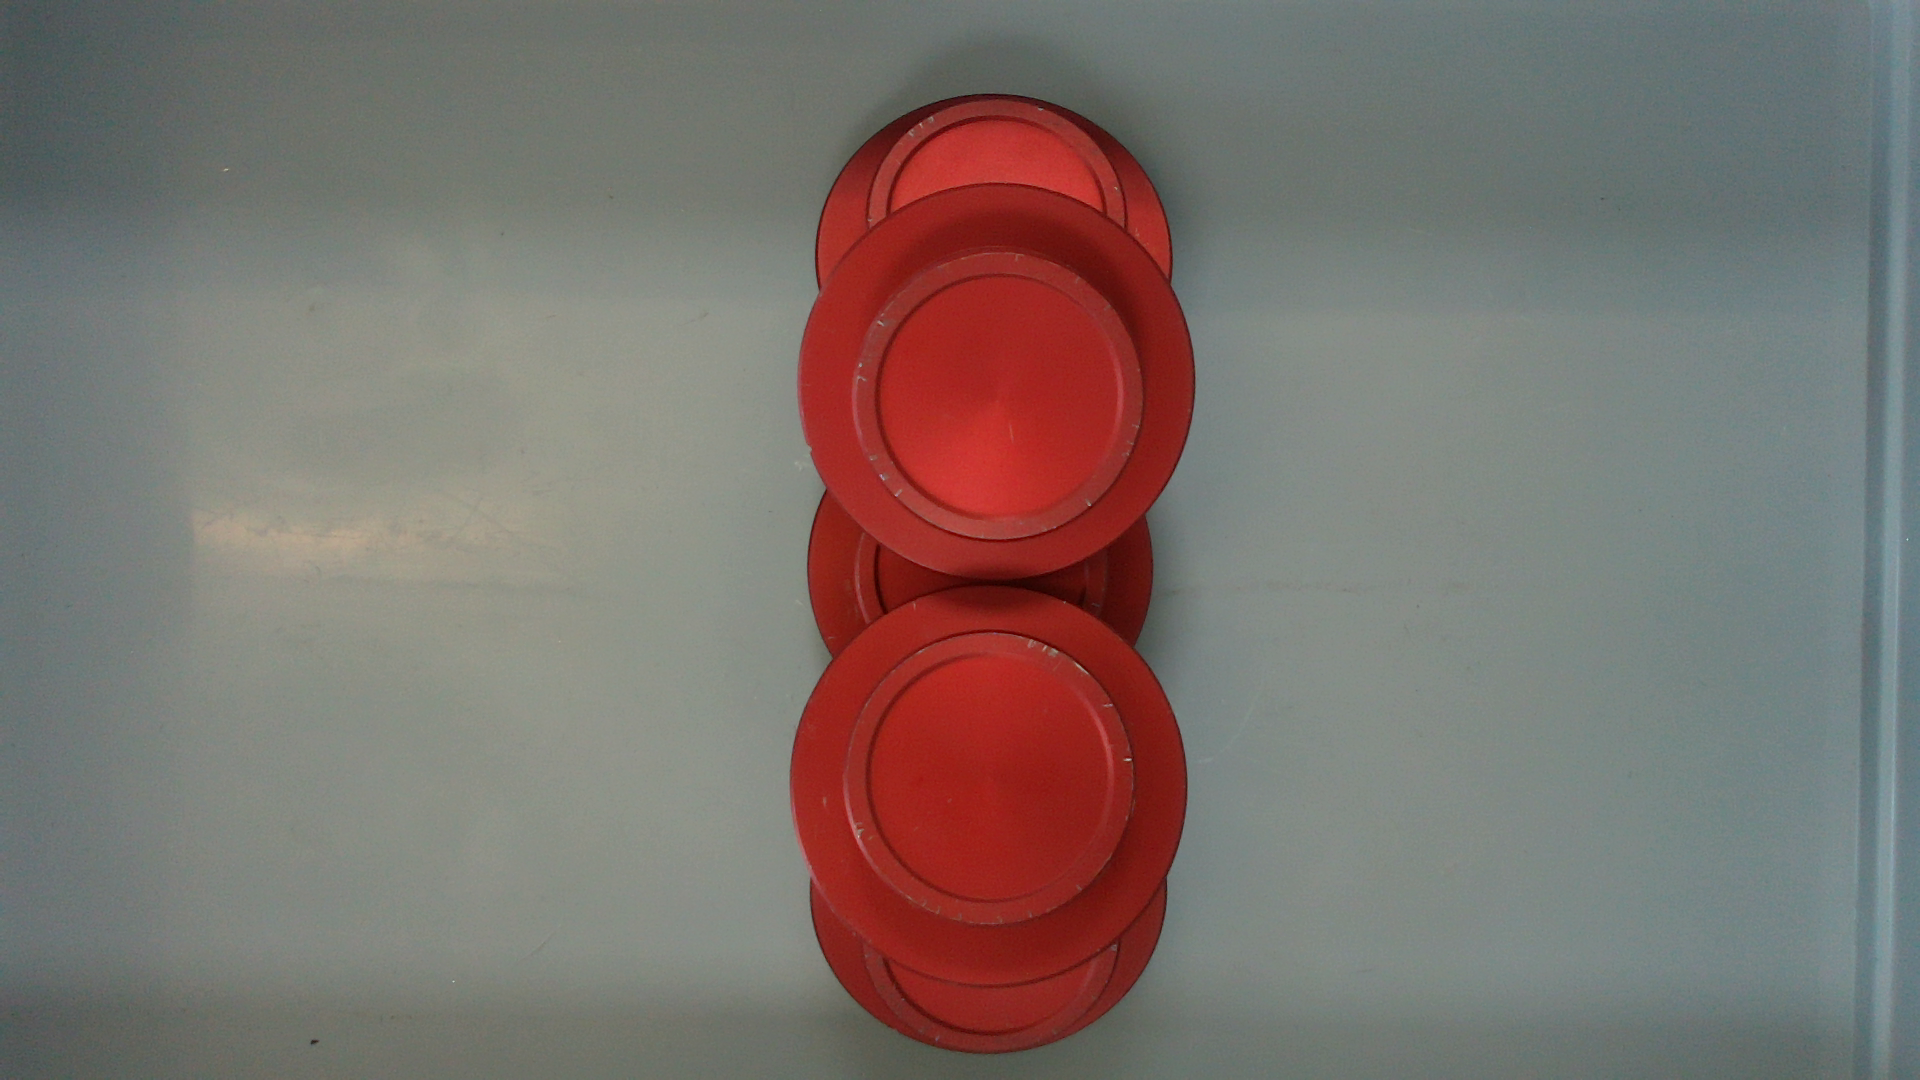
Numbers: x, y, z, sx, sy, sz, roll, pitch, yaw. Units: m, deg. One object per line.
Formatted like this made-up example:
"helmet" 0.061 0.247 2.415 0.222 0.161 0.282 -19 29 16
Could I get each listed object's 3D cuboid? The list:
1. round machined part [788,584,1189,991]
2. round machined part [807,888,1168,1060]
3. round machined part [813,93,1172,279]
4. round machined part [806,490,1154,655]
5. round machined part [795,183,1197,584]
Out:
"round machined part" 0.007 0.059 0.335 0.098 0.042 0.098 0 79 0
"round machined part" 0.007 0.099 0.372 0.098 0.042 0.098 0 105 0
"round machined part" 0.009 -0.080 0.375 0.098 0.042 0.098 0 74 0
"round machined part" 0.006 0.007 0.386 0.098 0.042 0.098 0 89 0
"round machined part" 0.009 -0.036 0.334 0.098 0.042 0.098 0 103 0
